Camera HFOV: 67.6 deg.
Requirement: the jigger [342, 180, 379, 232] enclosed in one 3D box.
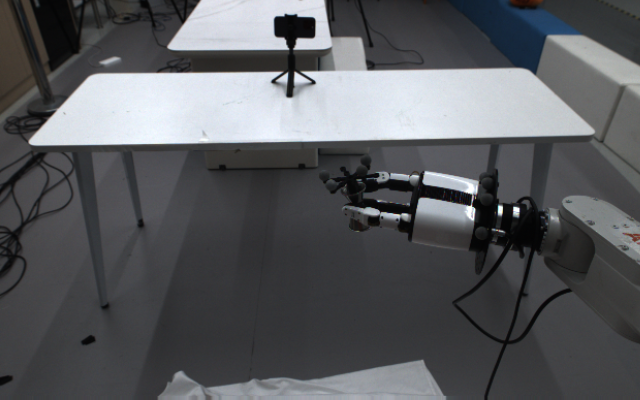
[{"bbox_3d":[0.059,0.010,0.759,0.043,0.071,0.043,-12,29,7],"label":"jigger"}]
